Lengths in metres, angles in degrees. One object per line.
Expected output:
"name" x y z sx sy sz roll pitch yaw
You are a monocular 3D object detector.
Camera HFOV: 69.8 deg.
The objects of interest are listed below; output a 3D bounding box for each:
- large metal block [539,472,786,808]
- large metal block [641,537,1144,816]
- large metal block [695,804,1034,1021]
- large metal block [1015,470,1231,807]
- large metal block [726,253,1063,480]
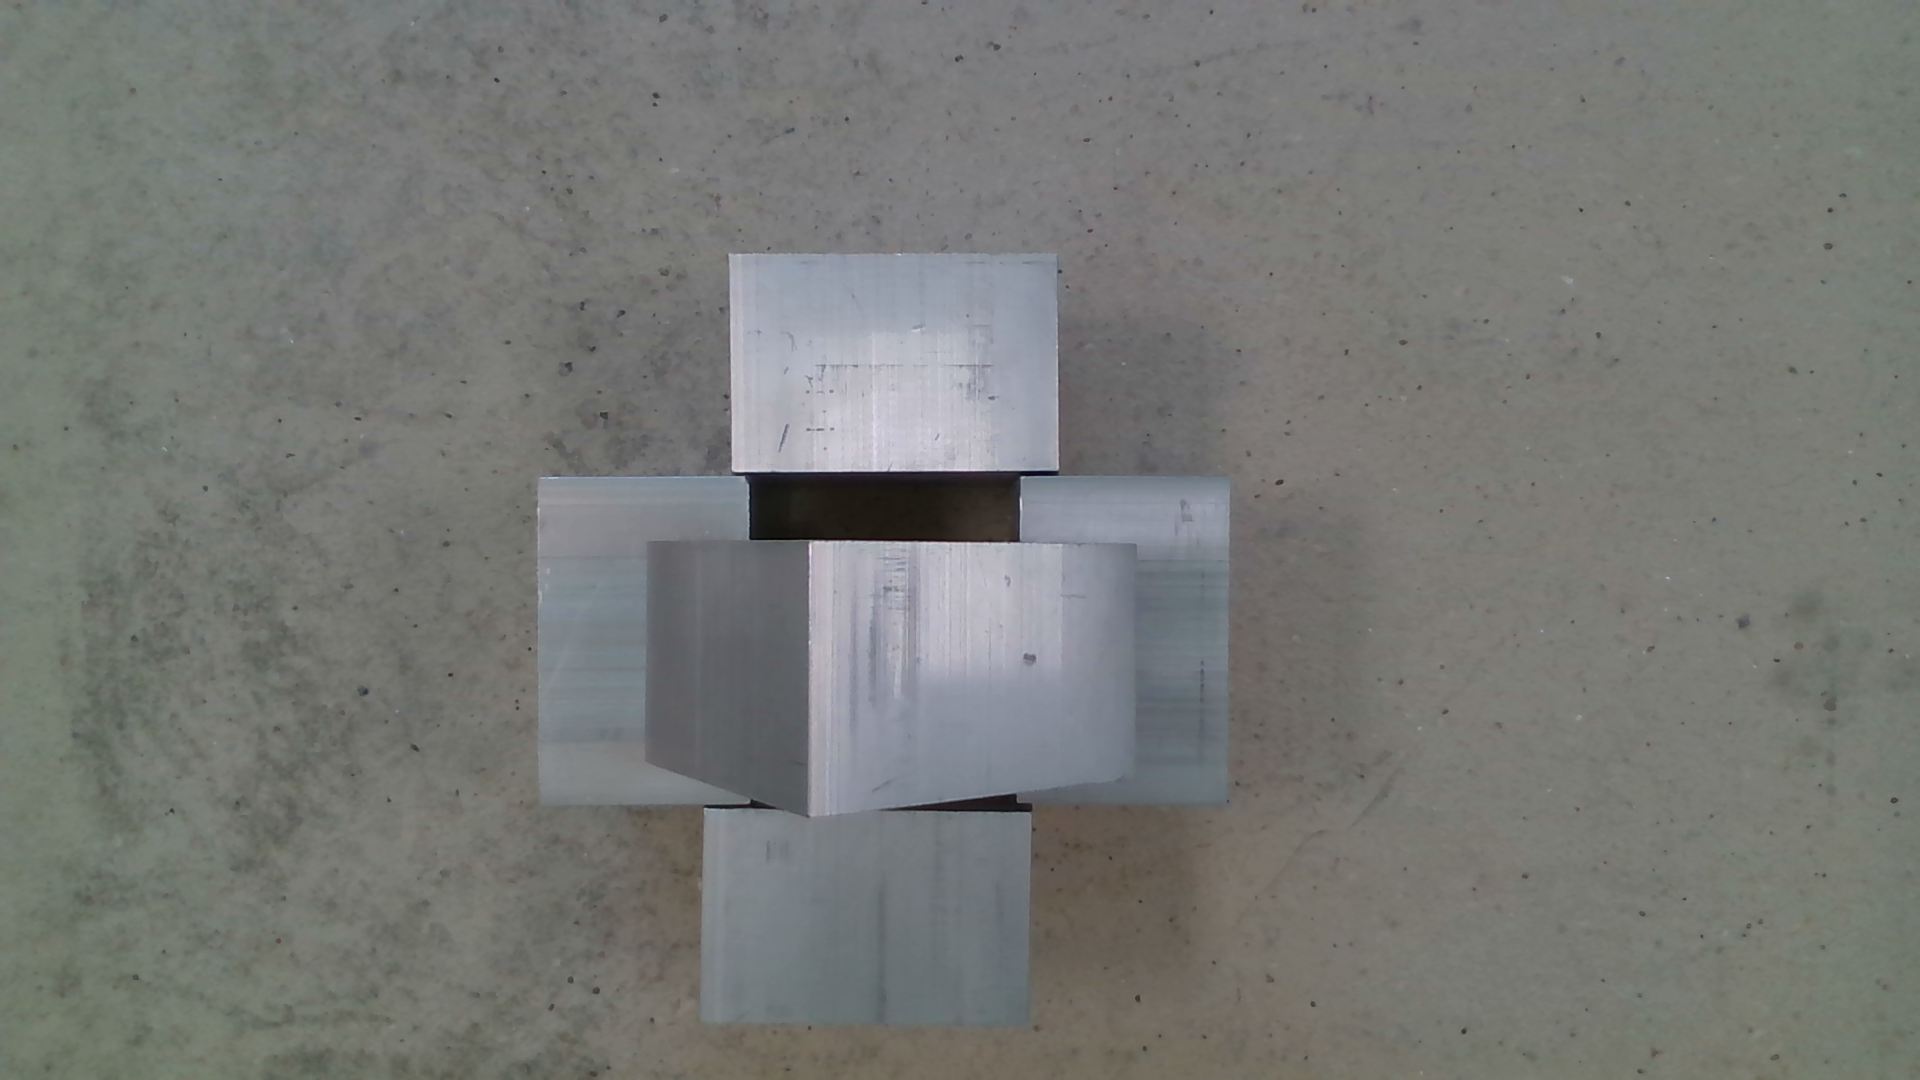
"large metal block" -0.075 0.024 0.369 0.050 0.080 0.080 0 90 0
"large metal block" -0.017 0.025 0.303 0.080 0.080 0.050 1 90 -34
"large metal block" -0.023 0.089 0.368 0.080 0.080 0.050 1 90 0
"large metal block" 0.039 0.024 0.369 0.050 0.080 0.080 1 90 0
"large metal block" -0.016 -0.043 0.367 0.080 0.080 0.050 0 90 0
